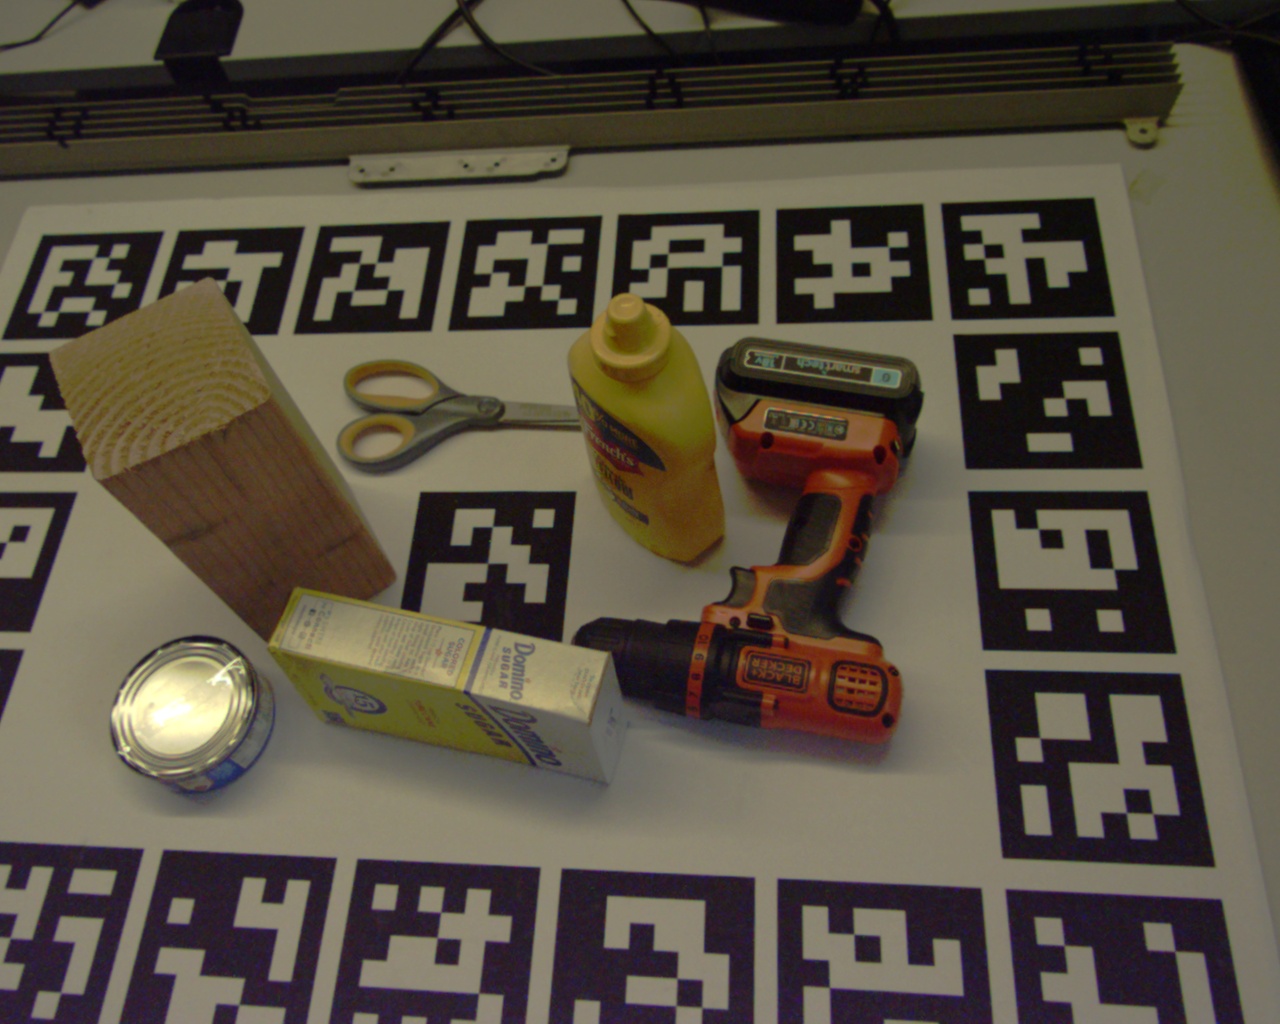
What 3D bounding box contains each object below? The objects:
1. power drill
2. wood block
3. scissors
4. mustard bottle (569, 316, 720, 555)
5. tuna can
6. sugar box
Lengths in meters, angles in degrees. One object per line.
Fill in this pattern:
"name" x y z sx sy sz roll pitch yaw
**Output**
"power drill" 0.052 0.021 0.676 0.186 0.057 0.187 11 72 14
"wood block" -0.219 -0.016 0.661 0.091 0.205 0.090 -26 64 -7
"scissors" -0.127 -0.068 0.770 0.204 0.016 0.088 1 59 9
"mustard bottle" 0.001 -0.051 0.654 0.058 0.190 0.097 -37 66 -11
"tuna can" -0.257 0.113 0.681 0.086 0.033 0.086 -3 63 5
"sugar box" -0.094 0.093 0.641 0.177 0.092 0.045 11 61 11
